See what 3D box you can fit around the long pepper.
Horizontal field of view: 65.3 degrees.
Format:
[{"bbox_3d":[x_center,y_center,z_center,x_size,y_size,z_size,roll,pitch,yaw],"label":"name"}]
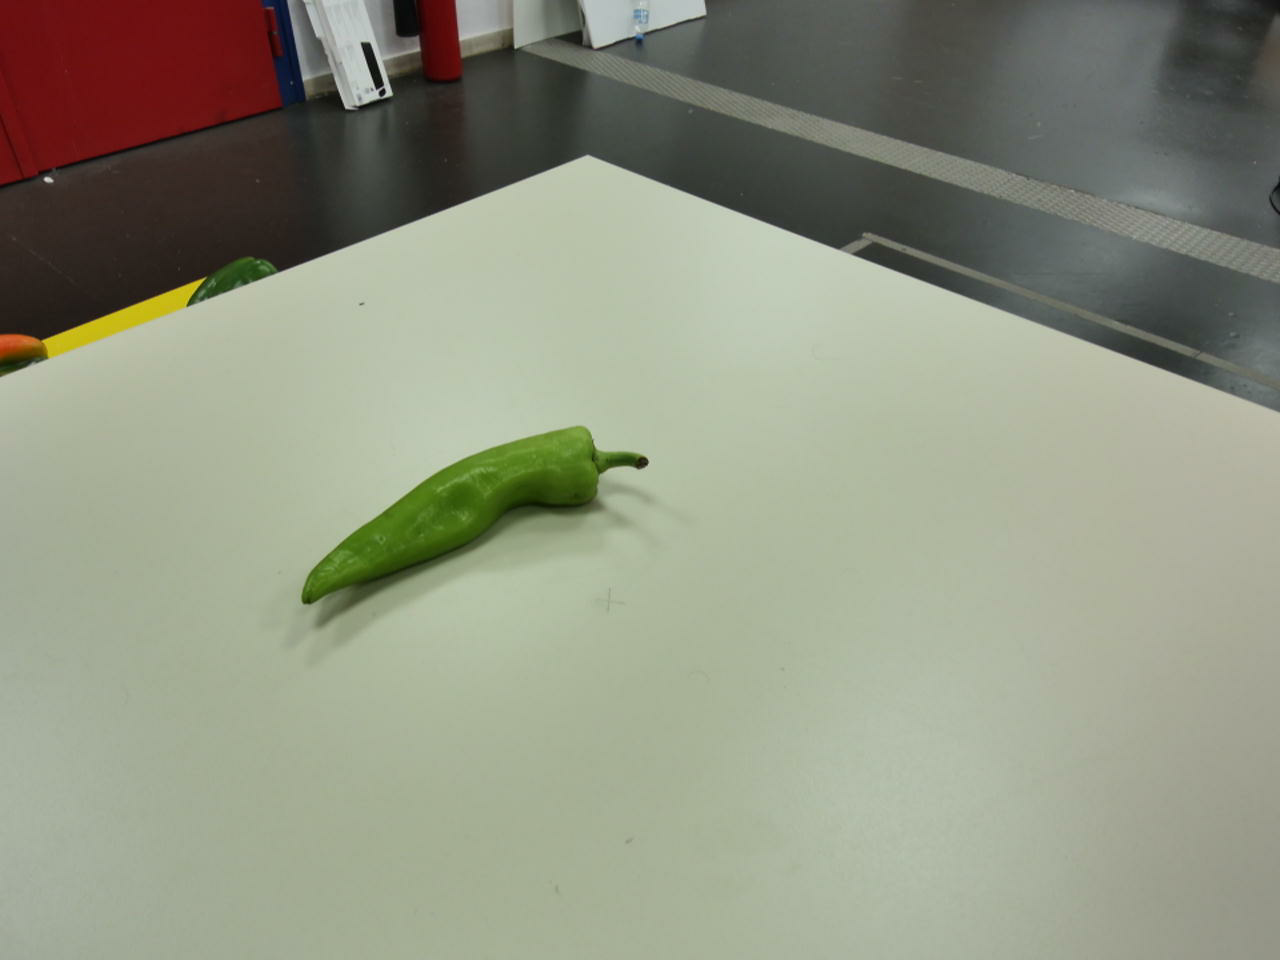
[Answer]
[{"bbox_3d":[-0.097,0.013,0.562,0.204,0.045,0.065,-20,43,-26],"label":"long pepper"}]
